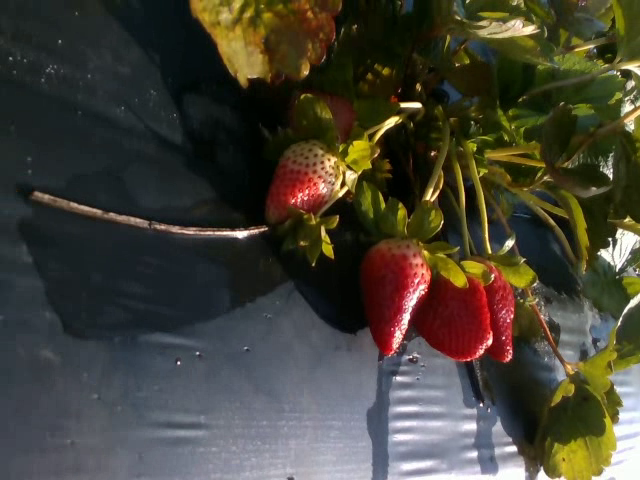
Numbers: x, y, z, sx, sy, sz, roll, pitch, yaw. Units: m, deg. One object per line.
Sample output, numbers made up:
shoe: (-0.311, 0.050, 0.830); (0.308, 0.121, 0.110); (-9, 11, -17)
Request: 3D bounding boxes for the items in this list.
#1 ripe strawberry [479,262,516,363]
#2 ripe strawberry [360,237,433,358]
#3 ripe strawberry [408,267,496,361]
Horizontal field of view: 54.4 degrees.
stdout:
ripe strawberry: (0.073, 0.035, 0.261); (0.035, 0.041, 0.034); (14, -45, -39)
ripe strawberry: (0.029, 0.021, 0.227); (0.032, 0.045, 0.023); (19, -12, -39)
ripe strawberry: (0.054, 0.029, 0.240); (0.030, 0.037, 0.039); (32, 20, -39)
